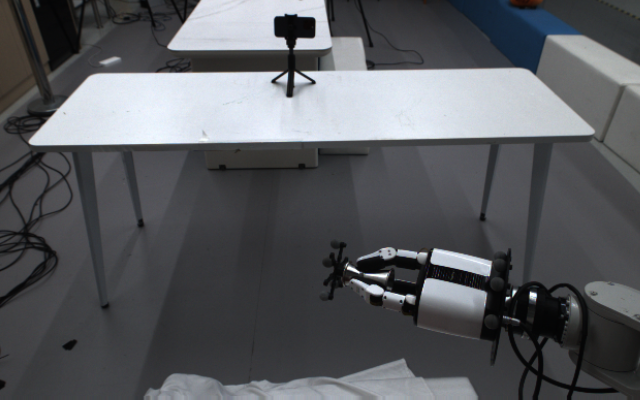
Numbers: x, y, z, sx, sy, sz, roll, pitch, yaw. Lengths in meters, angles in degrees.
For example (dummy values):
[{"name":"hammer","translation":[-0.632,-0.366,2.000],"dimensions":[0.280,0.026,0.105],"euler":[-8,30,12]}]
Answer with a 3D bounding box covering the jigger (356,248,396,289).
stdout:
[{"name":"jigger","translation":[0.078,0.113,0.716],"dimensions":[0.071,0.043,0.043],"euler":[10,35,22]}]
